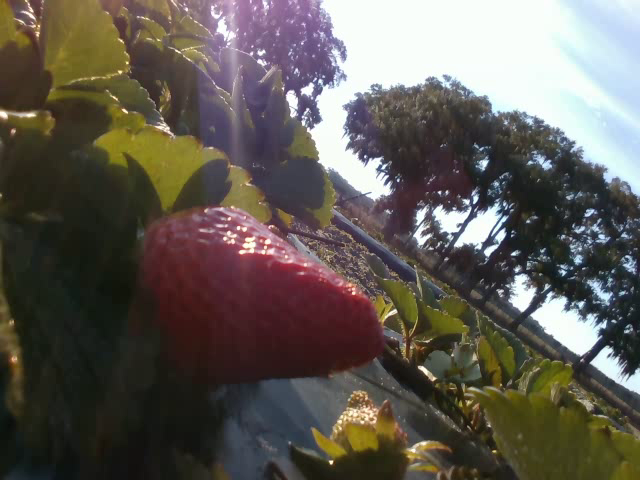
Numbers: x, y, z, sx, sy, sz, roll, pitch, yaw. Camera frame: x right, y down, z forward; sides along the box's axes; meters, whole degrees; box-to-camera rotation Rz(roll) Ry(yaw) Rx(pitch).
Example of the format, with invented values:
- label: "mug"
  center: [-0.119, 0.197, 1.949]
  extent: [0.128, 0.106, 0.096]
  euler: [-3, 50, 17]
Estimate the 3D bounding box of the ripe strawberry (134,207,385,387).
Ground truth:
- label: "ripe strawberry"
  center: [-0.013, 0.014, 0.142]
  extent: [0.072, 0.055, 0.057]
  euler: [18, 43, 20]
